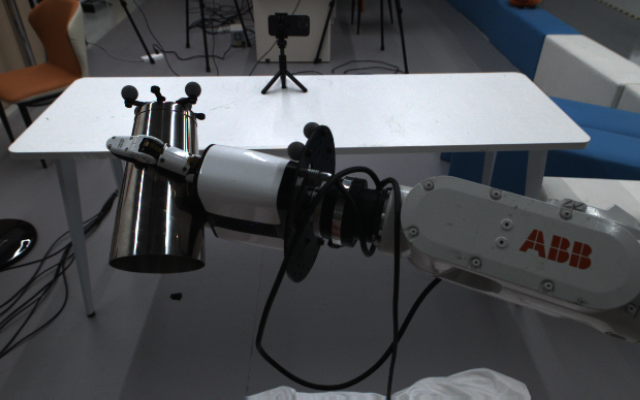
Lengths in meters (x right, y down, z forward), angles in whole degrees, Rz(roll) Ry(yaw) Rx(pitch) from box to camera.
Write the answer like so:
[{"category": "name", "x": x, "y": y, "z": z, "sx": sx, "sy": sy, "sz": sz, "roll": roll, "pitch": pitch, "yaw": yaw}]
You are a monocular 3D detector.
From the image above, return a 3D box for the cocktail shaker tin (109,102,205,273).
[{"category": "cocktail shaker tin", "x": -0.167, "y": -0.013, "z": 0.513, "sx": 0.093, "sy": 0.093, "sz": 0.170, "roll": -2, "pitch": 71, "yaw": -6}]
